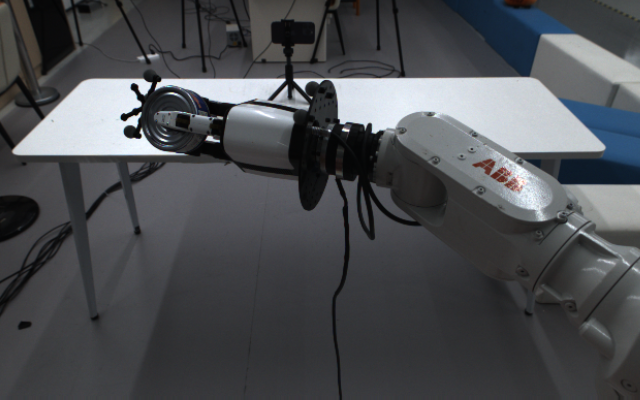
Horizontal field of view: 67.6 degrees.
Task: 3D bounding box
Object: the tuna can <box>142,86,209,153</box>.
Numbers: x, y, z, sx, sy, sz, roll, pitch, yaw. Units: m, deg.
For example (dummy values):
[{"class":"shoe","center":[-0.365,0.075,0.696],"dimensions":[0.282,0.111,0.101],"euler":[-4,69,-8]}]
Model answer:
[{"class":"tuna can","center":[-0.188,-0.105,0.632],"dimensions":[0.085,0.085,0.034],"euler":[12,6,14]}]
